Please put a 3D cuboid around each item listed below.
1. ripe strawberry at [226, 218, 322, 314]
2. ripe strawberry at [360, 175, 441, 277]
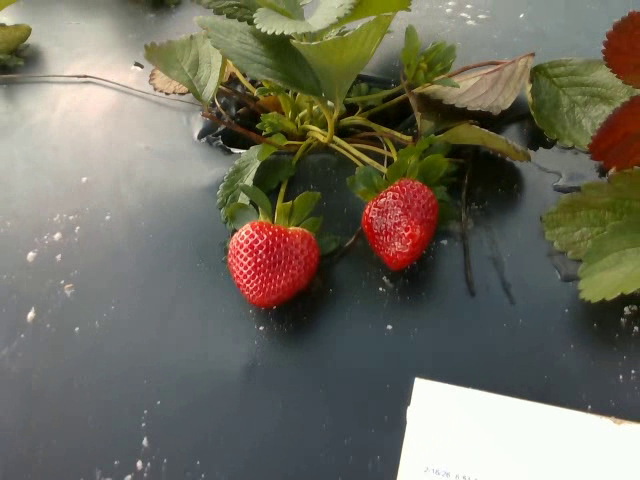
[{"bbox_3d":[-0.025,0.013,0.276,0.050,0.045,0.061,-3,38,12],"label":"ripe strawberry"},{"bbox_3d":[0.038,-0.009,0.279,0.042,0.034,0.053,-8,40,11],"label":"ripe strawberry"}]
